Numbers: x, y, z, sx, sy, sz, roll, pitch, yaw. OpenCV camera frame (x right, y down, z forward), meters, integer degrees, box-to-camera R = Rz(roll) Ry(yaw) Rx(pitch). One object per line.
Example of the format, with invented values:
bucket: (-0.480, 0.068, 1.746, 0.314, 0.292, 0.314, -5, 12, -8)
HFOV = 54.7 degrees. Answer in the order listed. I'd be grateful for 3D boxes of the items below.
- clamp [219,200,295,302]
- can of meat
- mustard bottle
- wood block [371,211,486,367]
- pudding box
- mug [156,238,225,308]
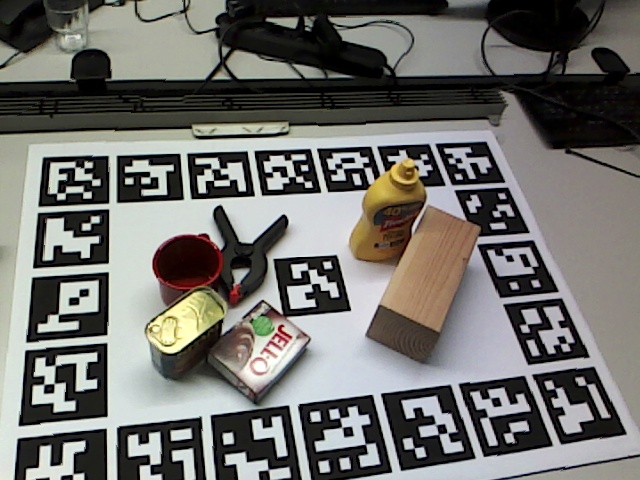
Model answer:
clamp: (-0.110, 0.017, 0.937, 0.122, 0.036, 0.165, 13, 55, -2)
can of meat: (-0.169, 0.123, 0.807, 0.101, 0.083, 0.058, -32, 66, -28)
mustard bottle: (0.110, -0.047, 0.917, 0.096, 0.191, 0.059, -8, 57, -15)
wood block: (0.161, 0.067, 0.911, 0.090, 0.091, 0.206, 25, 52, 11)
pudding box: (-0.074, 0.150, 0.837, 0.090, 0.038, 0.113, 37, 55, 17)
mug: (-0.182, 0.052, 0.893, 0.093, 0.081, 0.117, 14, 54, 1)
